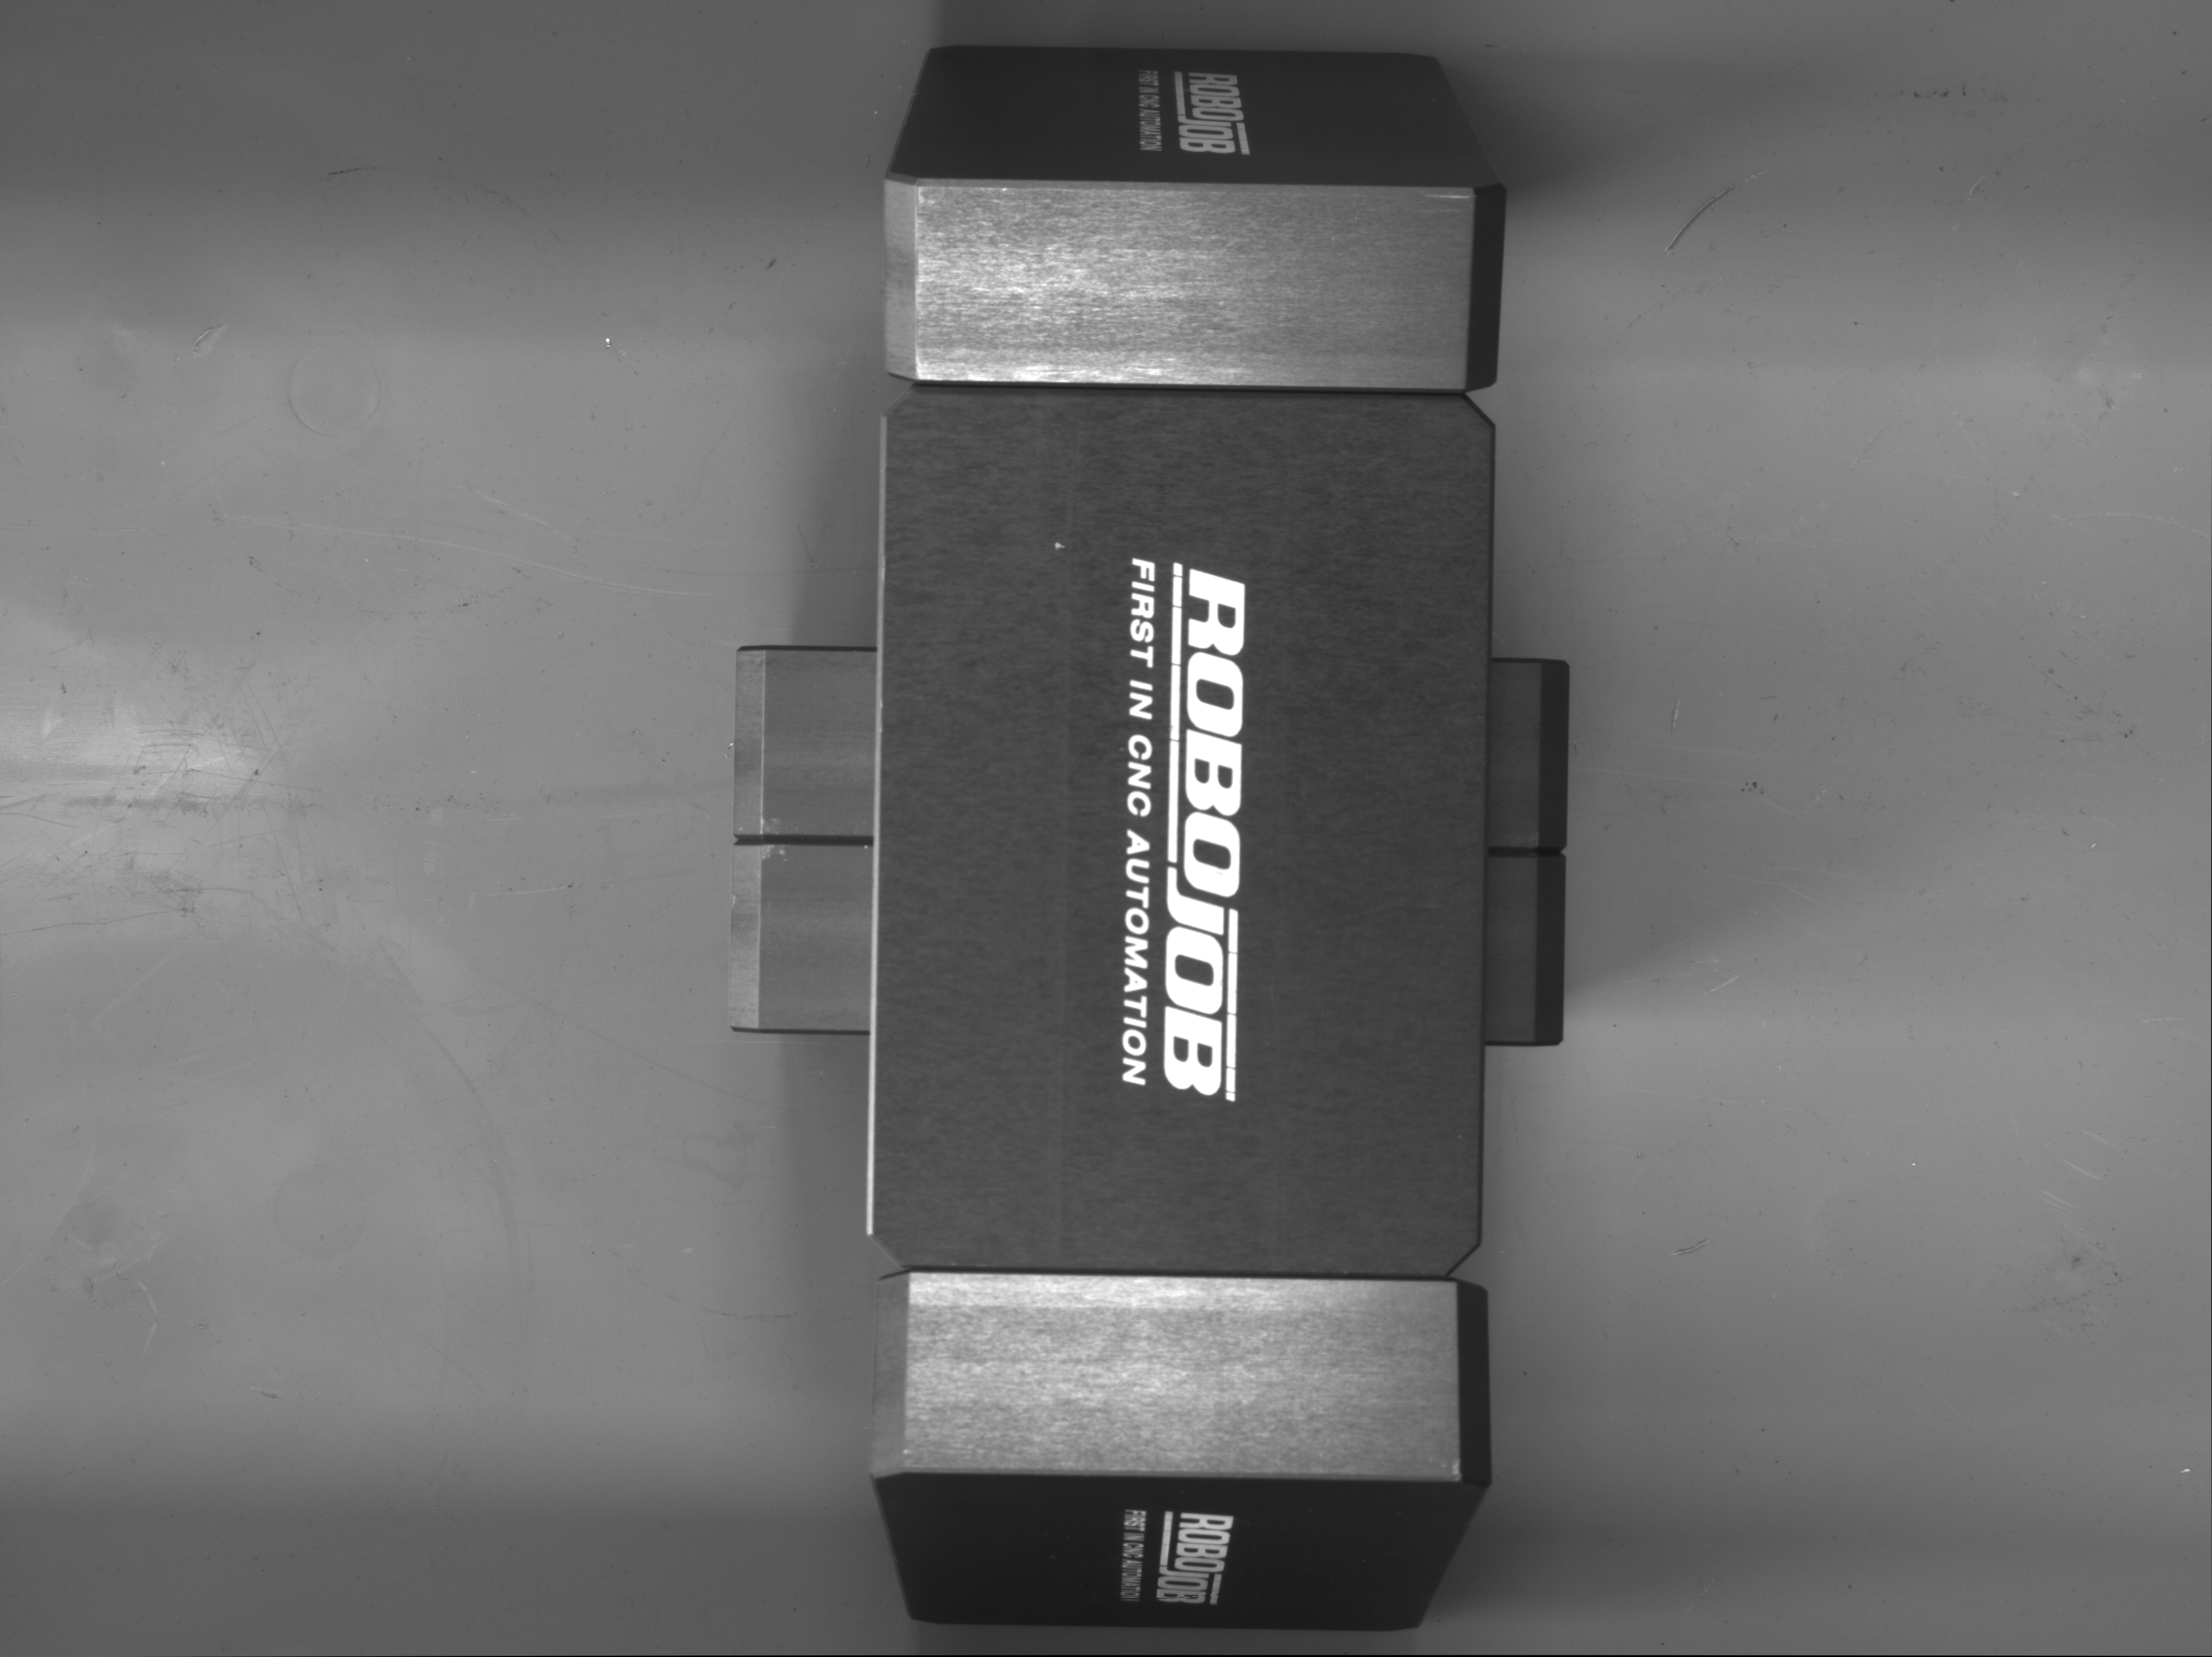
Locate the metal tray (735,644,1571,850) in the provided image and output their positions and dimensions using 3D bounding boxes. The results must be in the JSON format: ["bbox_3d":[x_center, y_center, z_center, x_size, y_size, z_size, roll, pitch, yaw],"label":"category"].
[{"bbox_3d":[0.008,-0.012,0.612,0.130,0.090,0.030,1,90,0],"label":"metal tray"}]

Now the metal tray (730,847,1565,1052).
[{"bbox_3d":[0.007,0.019,0.612,0.130,0.090,0.030,1,90,0],"label":"metal tray"}]

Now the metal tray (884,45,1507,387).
[{"bbox_3d":[0.013,-0.101,0.591,0.090,0.130,0.030,1,110,0],"label":"metal tray"}]

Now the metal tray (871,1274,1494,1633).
[{"bbox_3d":[0.011,0.103,0.590,0.090,0.130,0.030,1,68,0],"label":"metal tray"}]

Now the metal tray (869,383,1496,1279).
[{"bbox_3d":[0.011,0.000,0.551,0.090,0.030,0.130,1,90,-1],"label":"metal tray"}]
